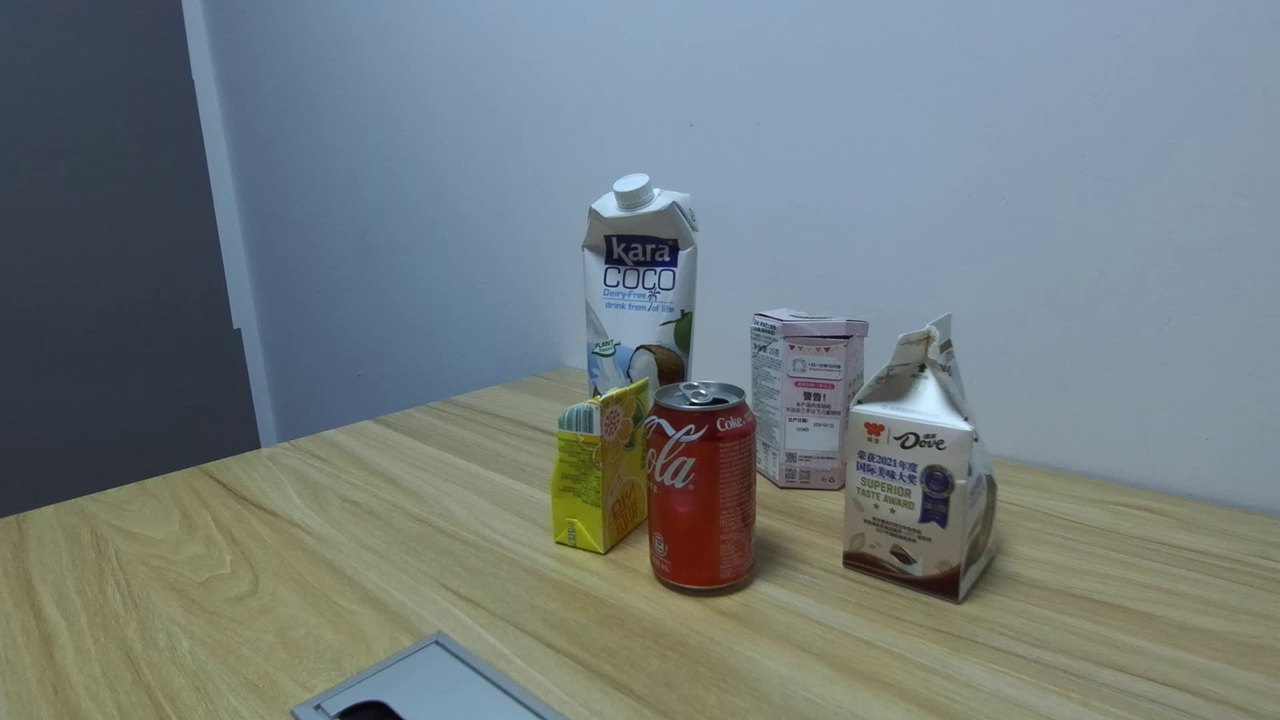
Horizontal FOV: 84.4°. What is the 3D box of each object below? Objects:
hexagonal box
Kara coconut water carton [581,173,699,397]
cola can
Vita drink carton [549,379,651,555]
[{"bbox_3d":[0.135,0.028,0.568,0.092,0.135,0.085,1,14,12],"label":"hexagonal box"},{"bbox_3d":[0.002,-0.026,0.579,0.099,0.244,0.071,0,14,14],"label":"Kara coconut water carton"},{"bbox_3d":[0.036,0.073,0.429,0.068,0.120,0.068,-2,14,1],"label":"cola can"},{"bbox_3d":[-0.026,0.068,0.487,0.046,0.109,0.071,8,16,30],"label":"Vita drink carton"}]
